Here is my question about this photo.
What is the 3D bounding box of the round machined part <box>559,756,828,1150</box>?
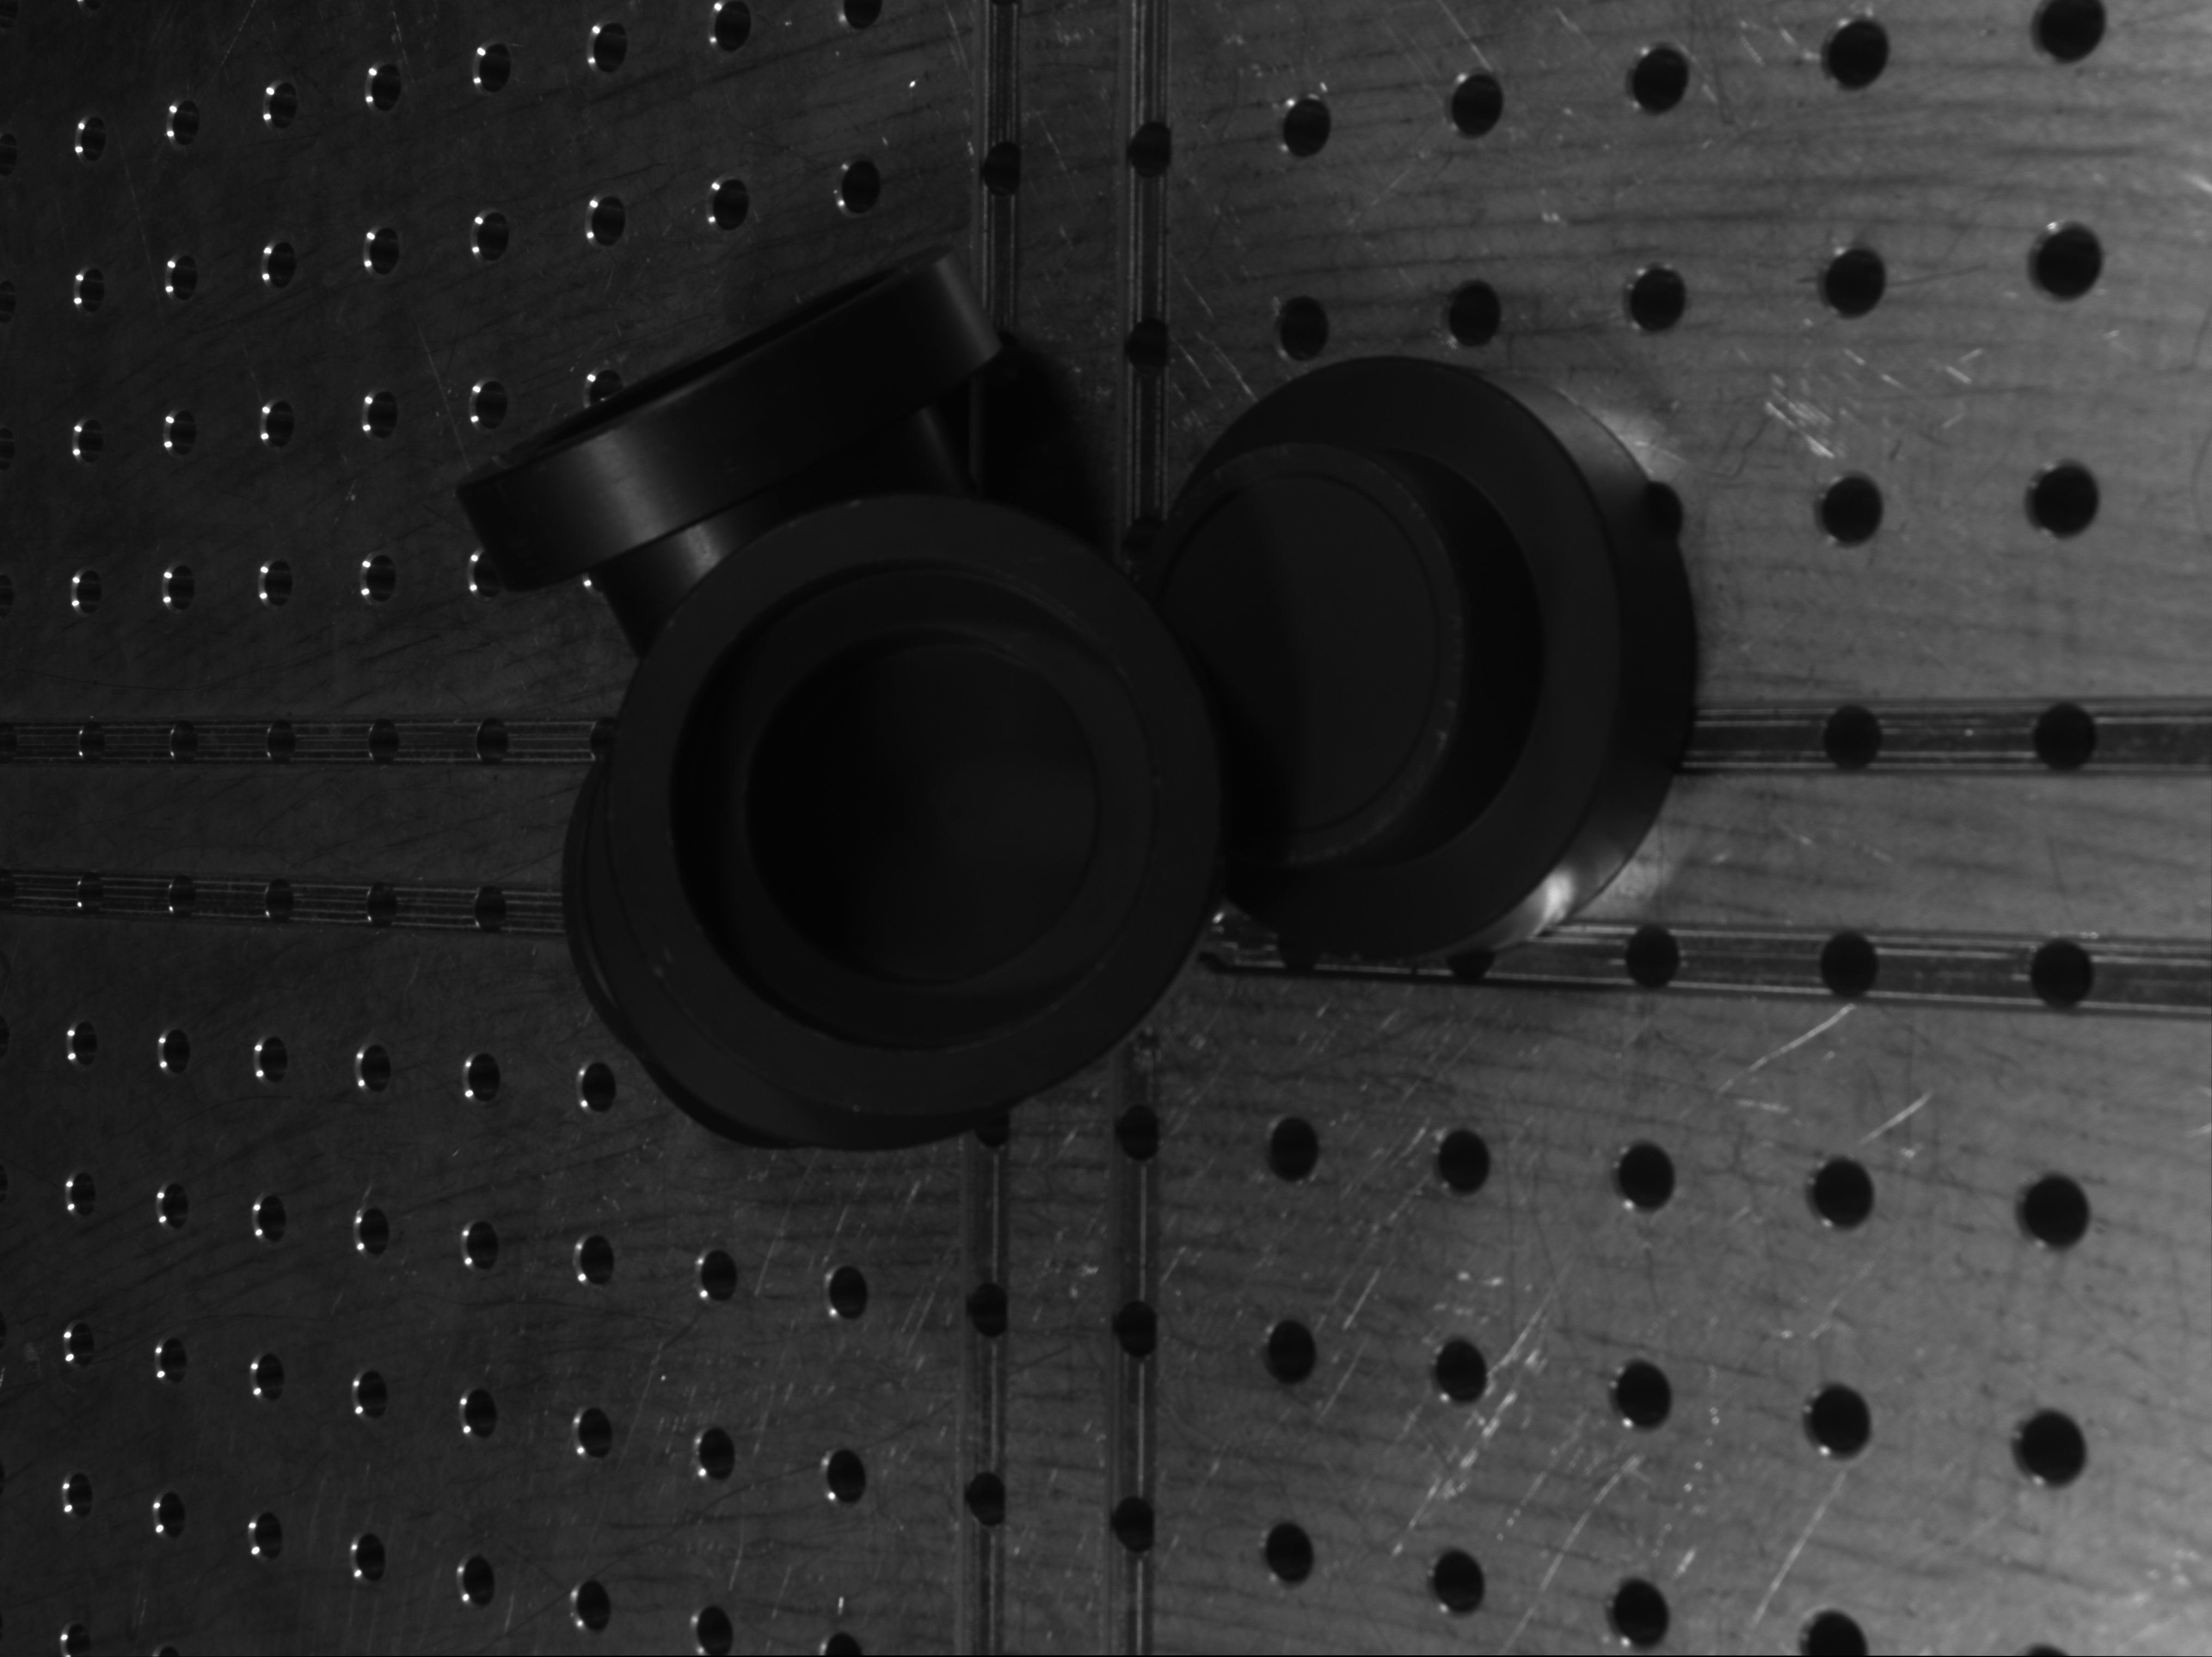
[{"bbox_3d":[-0.064,0.011,0.681,0.098,0.042,0.098,0,90,39],"label":"round machined part"}]

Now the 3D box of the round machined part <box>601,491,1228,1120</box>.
[{"bbox_3d":[-0.028,-0.003,0.589,0.098,0.042,0.098,0,89,6],"label":"round machined part"}]

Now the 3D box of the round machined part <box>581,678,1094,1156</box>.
[{"bbox_3d":[-0.042,0.007,0.632,0.098,0.042,0.098,0,87,2],"label":"round machined part"}]

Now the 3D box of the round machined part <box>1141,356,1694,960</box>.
[{"bbox_3d":[0.042,-0.028,0.594,0.098,0.042,0.098,0,90,39],"label":"round machined part"}]

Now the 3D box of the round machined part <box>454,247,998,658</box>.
[{"bbox_3d":[-0.063,-0.063,0.650,0.098,0.098,0.042,-16,105,38],"label":"round machined part"}]
